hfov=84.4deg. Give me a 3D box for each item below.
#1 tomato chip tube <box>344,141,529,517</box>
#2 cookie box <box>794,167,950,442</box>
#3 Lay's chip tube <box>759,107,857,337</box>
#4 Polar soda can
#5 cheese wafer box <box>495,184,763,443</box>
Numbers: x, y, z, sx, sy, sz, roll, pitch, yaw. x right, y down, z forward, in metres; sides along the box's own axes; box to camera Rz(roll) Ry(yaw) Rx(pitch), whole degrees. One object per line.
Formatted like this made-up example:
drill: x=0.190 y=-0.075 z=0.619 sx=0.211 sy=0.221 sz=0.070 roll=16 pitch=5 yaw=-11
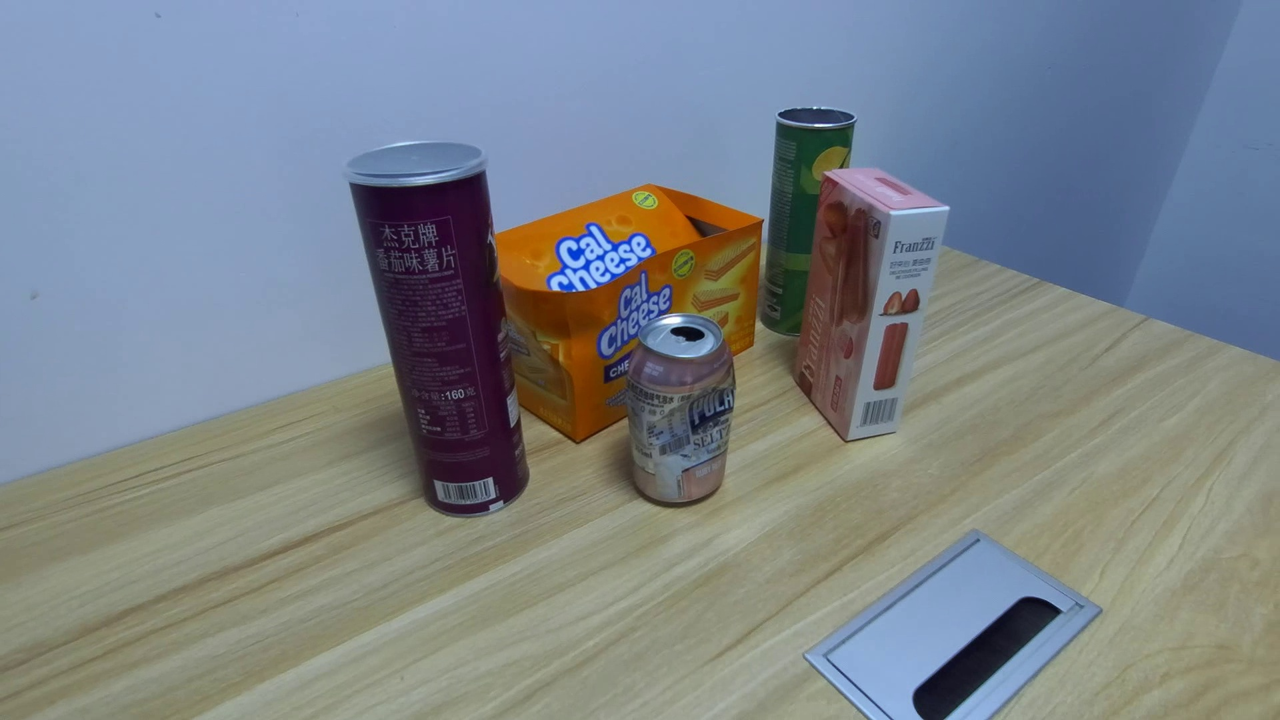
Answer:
tomato chip tube: x=-0.122 y=-0.011 z=0.454 sx=0.078 sy=0.234 sz=0.078 roll=-1 pitch=31 yaw=1
cookie box: x=0.169 y=-0.041 z=0.539 sx=0.048 sy=0.185 sz=0.096 roll=-7 pitch=32 yaw=-13
Lay's chip tube: x=0.154 y=-0.126 z=0.656 sx=0.071 sy=0.203 sz=0.071 roll=0 pitch=31 yaw=0
Polar soda can: x=0.029 y=0.035 z=0.480 sx=0.074 sy=0.122 sz=0.067 roll=-2 pitch=31 yaw=0
cheese wafer box: x=-0.019 y=-0.050 z=0.617 sx=0.231 sy=0.132 sz=0.151 roll=-27 pitch=40 yaw=-35
